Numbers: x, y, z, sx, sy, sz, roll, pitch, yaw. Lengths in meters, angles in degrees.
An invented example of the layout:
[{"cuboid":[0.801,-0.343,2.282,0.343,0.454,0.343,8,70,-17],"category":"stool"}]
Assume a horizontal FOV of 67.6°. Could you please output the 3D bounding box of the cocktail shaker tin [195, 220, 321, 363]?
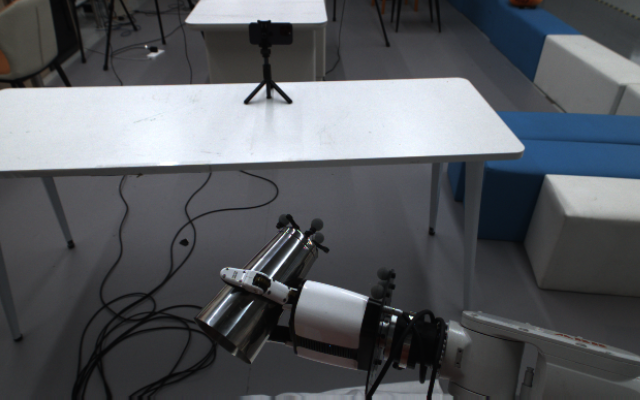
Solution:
[{"cuboid":[-0.077,0.114,0.644,0.093,0.093,0.170,23,58,27],"category":"cocktail shaker tin"}]
